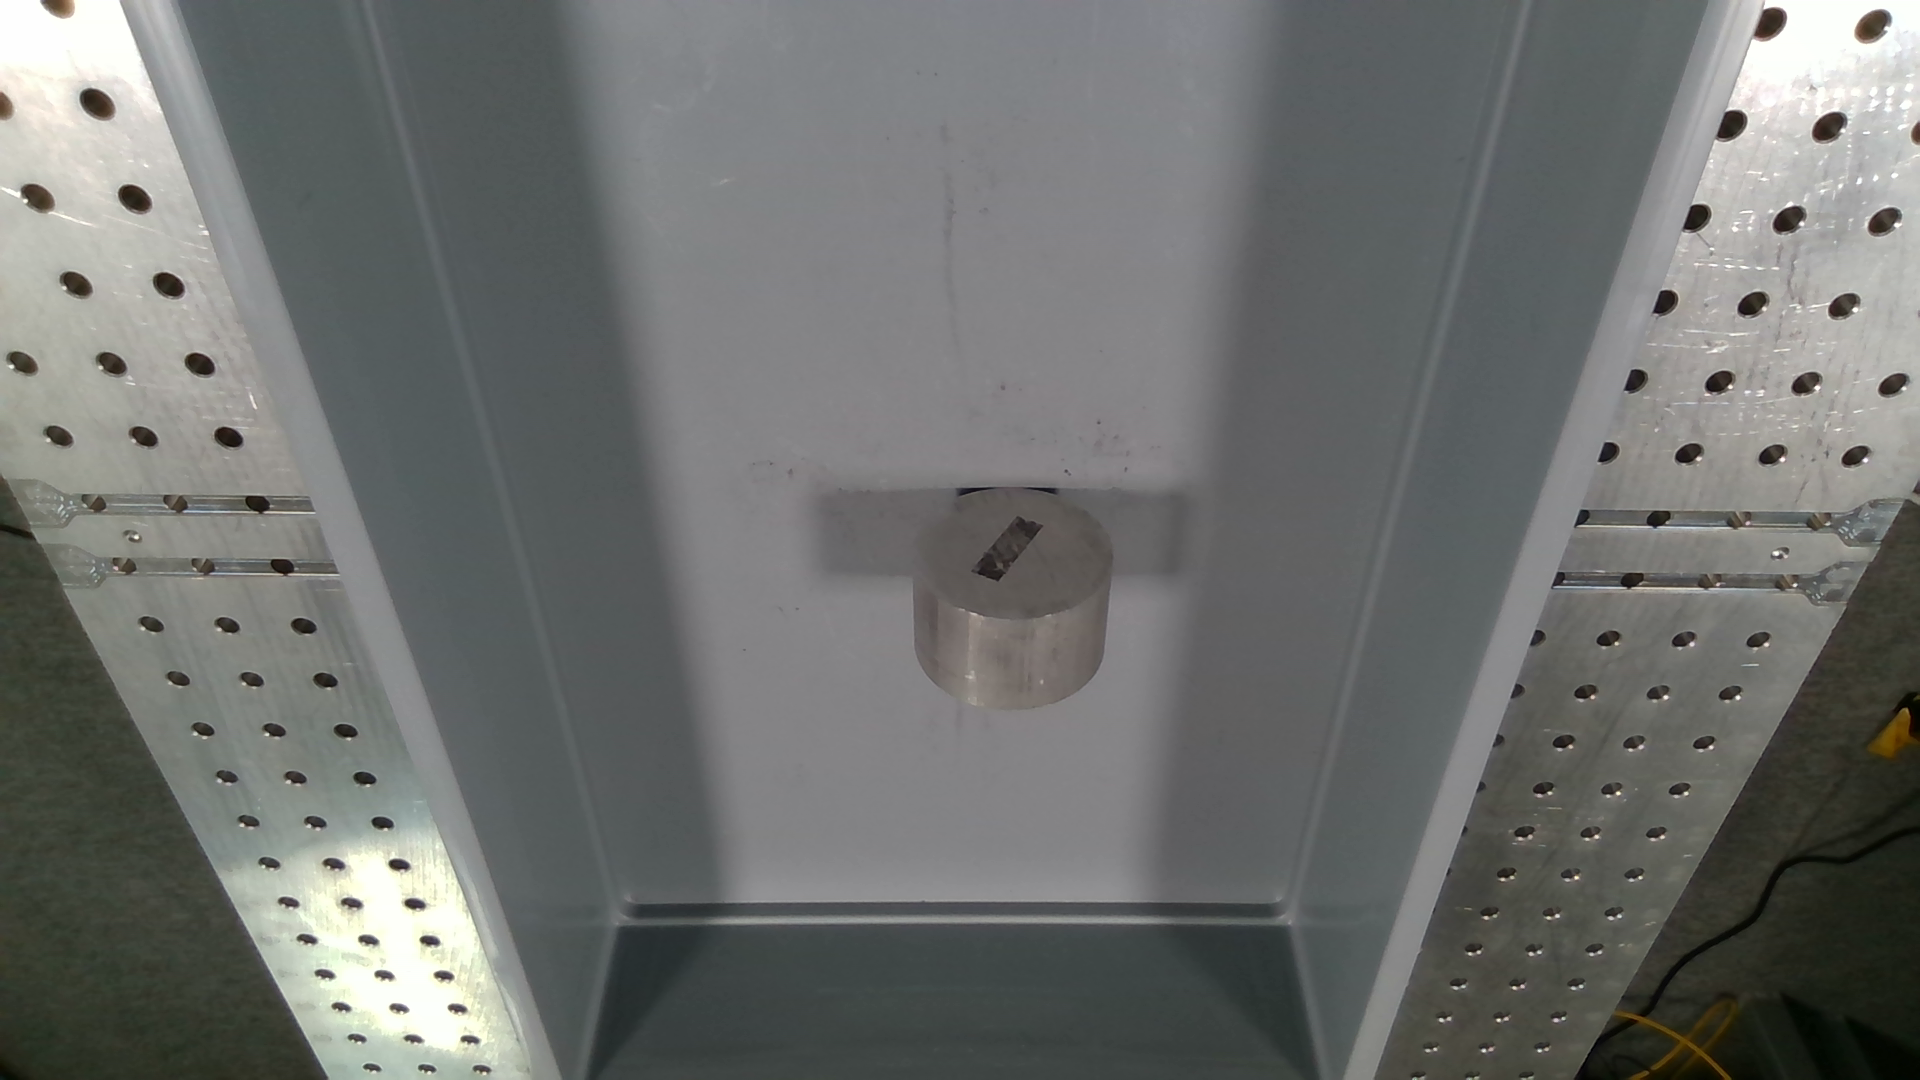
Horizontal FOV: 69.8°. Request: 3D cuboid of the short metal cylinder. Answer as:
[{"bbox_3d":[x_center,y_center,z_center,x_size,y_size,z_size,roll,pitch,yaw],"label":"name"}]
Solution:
[{"bbox_3d":[0.020,0.023,0.560,0.080,0.080,0.050,0,130,0],"label":"short metal cylinder"}]
